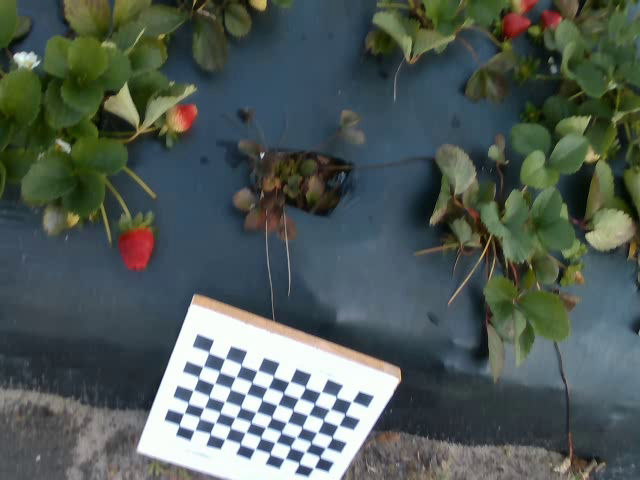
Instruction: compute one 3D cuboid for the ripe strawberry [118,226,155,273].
[{"bbox_3d":[-0.203,0.013,0.830,0.045,0.055,0.042,-21,-35,14],"label":"ripe strawberry"}]
